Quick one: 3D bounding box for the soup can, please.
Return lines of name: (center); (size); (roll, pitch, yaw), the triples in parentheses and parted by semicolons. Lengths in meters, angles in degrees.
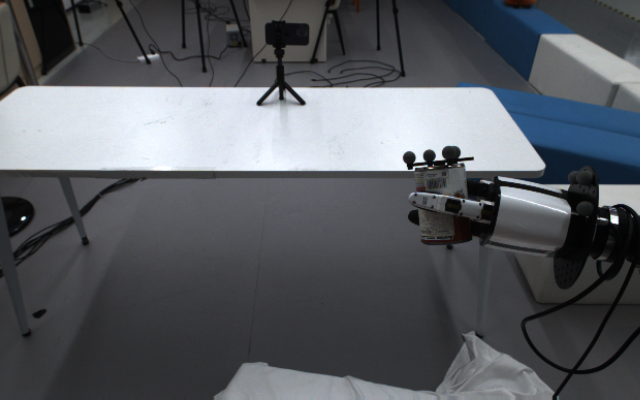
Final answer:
soup can: (0.167, 0.004, 0.649); (0.067, 0.101, 0.067); (-6, 3, 0)
